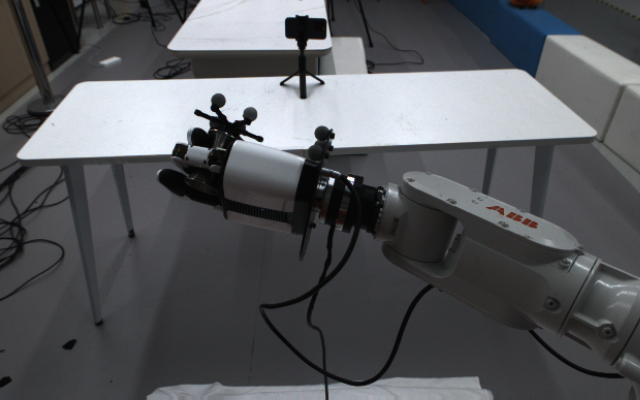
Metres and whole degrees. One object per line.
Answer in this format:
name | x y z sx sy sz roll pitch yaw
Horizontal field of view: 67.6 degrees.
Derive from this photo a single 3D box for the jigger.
jigger | -0.127 -0.046 0.577 0.043 0.043 0.071 15 70 18
